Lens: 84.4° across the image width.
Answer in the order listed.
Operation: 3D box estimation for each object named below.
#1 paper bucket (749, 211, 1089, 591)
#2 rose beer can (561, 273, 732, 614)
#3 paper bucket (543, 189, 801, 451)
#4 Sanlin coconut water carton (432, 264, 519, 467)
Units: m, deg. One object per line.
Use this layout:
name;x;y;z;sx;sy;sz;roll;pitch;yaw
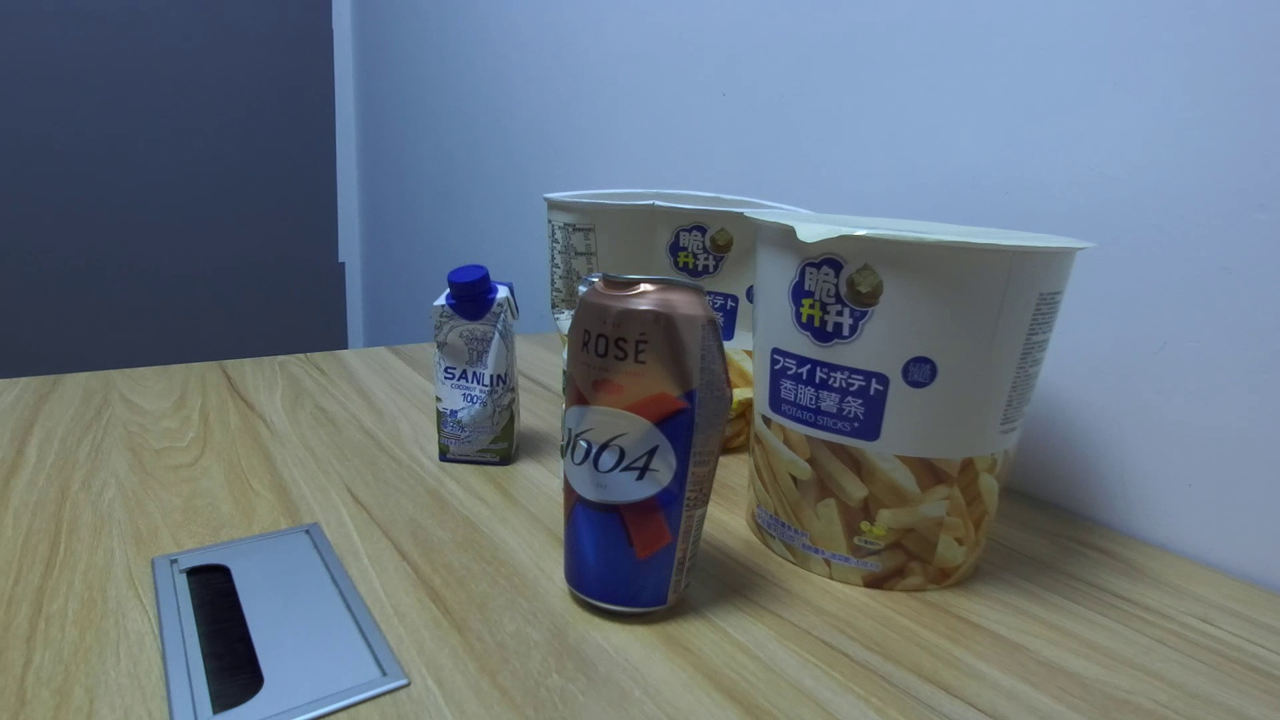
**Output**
paper bucket;0.149;0.017;0.431;0.198;0.194;0.198;3;14;-1
rose beer can;-0.002;0.041;0.355;0.069;0.168;0.069;1;11;-19
paper bucket;0.036;-0.036;0.589;0.219;0.199;0.147;-2;15;-21
Sanlin coconut water carton;-0.120;0.001;0.521;0.061;0.143;0.070;2;15;1
